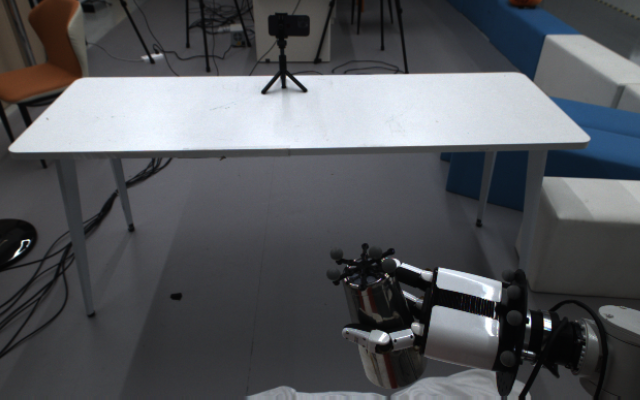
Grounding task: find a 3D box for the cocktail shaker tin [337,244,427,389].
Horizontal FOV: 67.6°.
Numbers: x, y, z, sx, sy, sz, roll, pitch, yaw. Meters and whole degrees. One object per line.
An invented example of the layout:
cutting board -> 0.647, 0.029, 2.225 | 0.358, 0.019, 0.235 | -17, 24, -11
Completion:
cocktail shaker tin -> 0.083, 0.159, 0.649 | 0.093, 0.170, 0.093 | -15, 28, 8
